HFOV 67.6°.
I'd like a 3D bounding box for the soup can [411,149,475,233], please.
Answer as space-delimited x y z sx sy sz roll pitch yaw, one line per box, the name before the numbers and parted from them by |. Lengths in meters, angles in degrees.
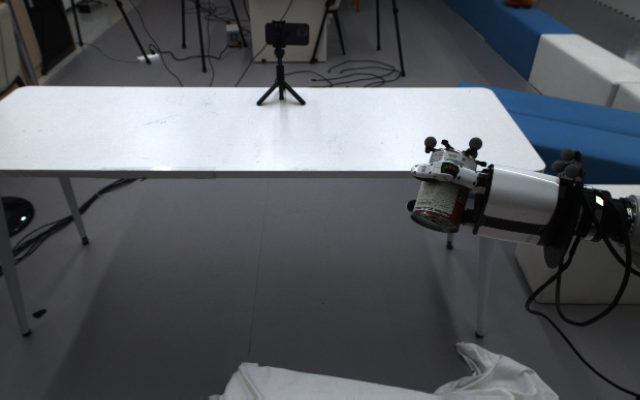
soup can | 0.174 -0.016 0.681 0.067 0.067 0.101 16 75 19
